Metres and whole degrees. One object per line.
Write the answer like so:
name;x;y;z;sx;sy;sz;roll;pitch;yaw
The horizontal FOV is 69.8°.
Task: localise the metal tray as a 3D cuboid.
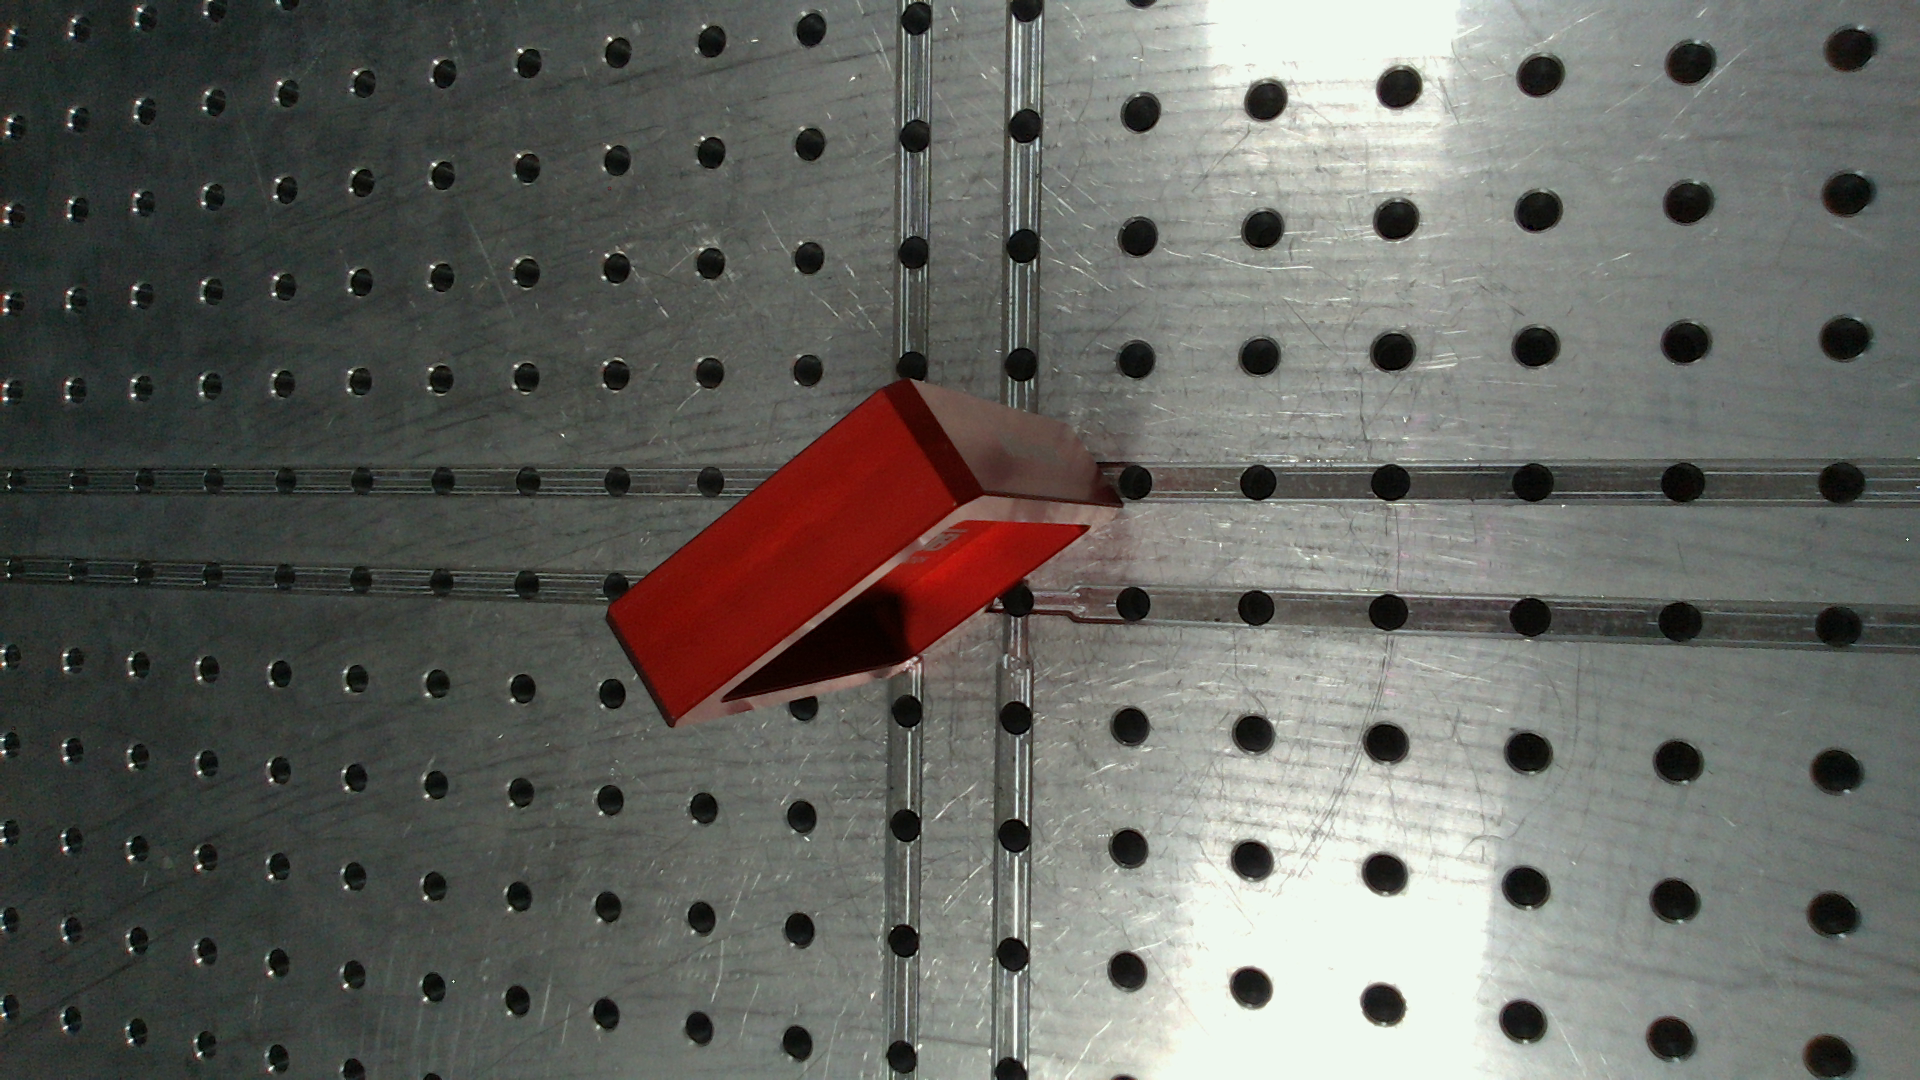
metal tray;-0.017;0.004;0.348;0.090;0.130;0.030;-37;78;16
